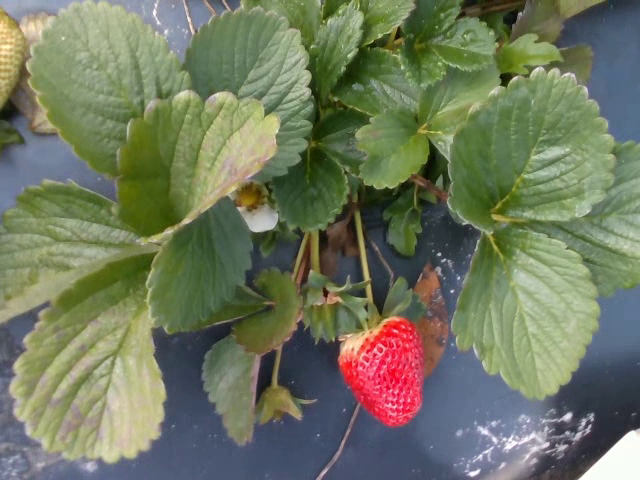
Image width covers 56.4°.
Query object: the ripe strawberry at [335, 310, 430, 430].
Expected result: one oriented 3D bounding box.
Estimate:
[{"bbox_3d":[0.032,0.070,0.295,0.050,0.053,0.049,-11,-23,-12],"label":"ripe strawberry"}]
